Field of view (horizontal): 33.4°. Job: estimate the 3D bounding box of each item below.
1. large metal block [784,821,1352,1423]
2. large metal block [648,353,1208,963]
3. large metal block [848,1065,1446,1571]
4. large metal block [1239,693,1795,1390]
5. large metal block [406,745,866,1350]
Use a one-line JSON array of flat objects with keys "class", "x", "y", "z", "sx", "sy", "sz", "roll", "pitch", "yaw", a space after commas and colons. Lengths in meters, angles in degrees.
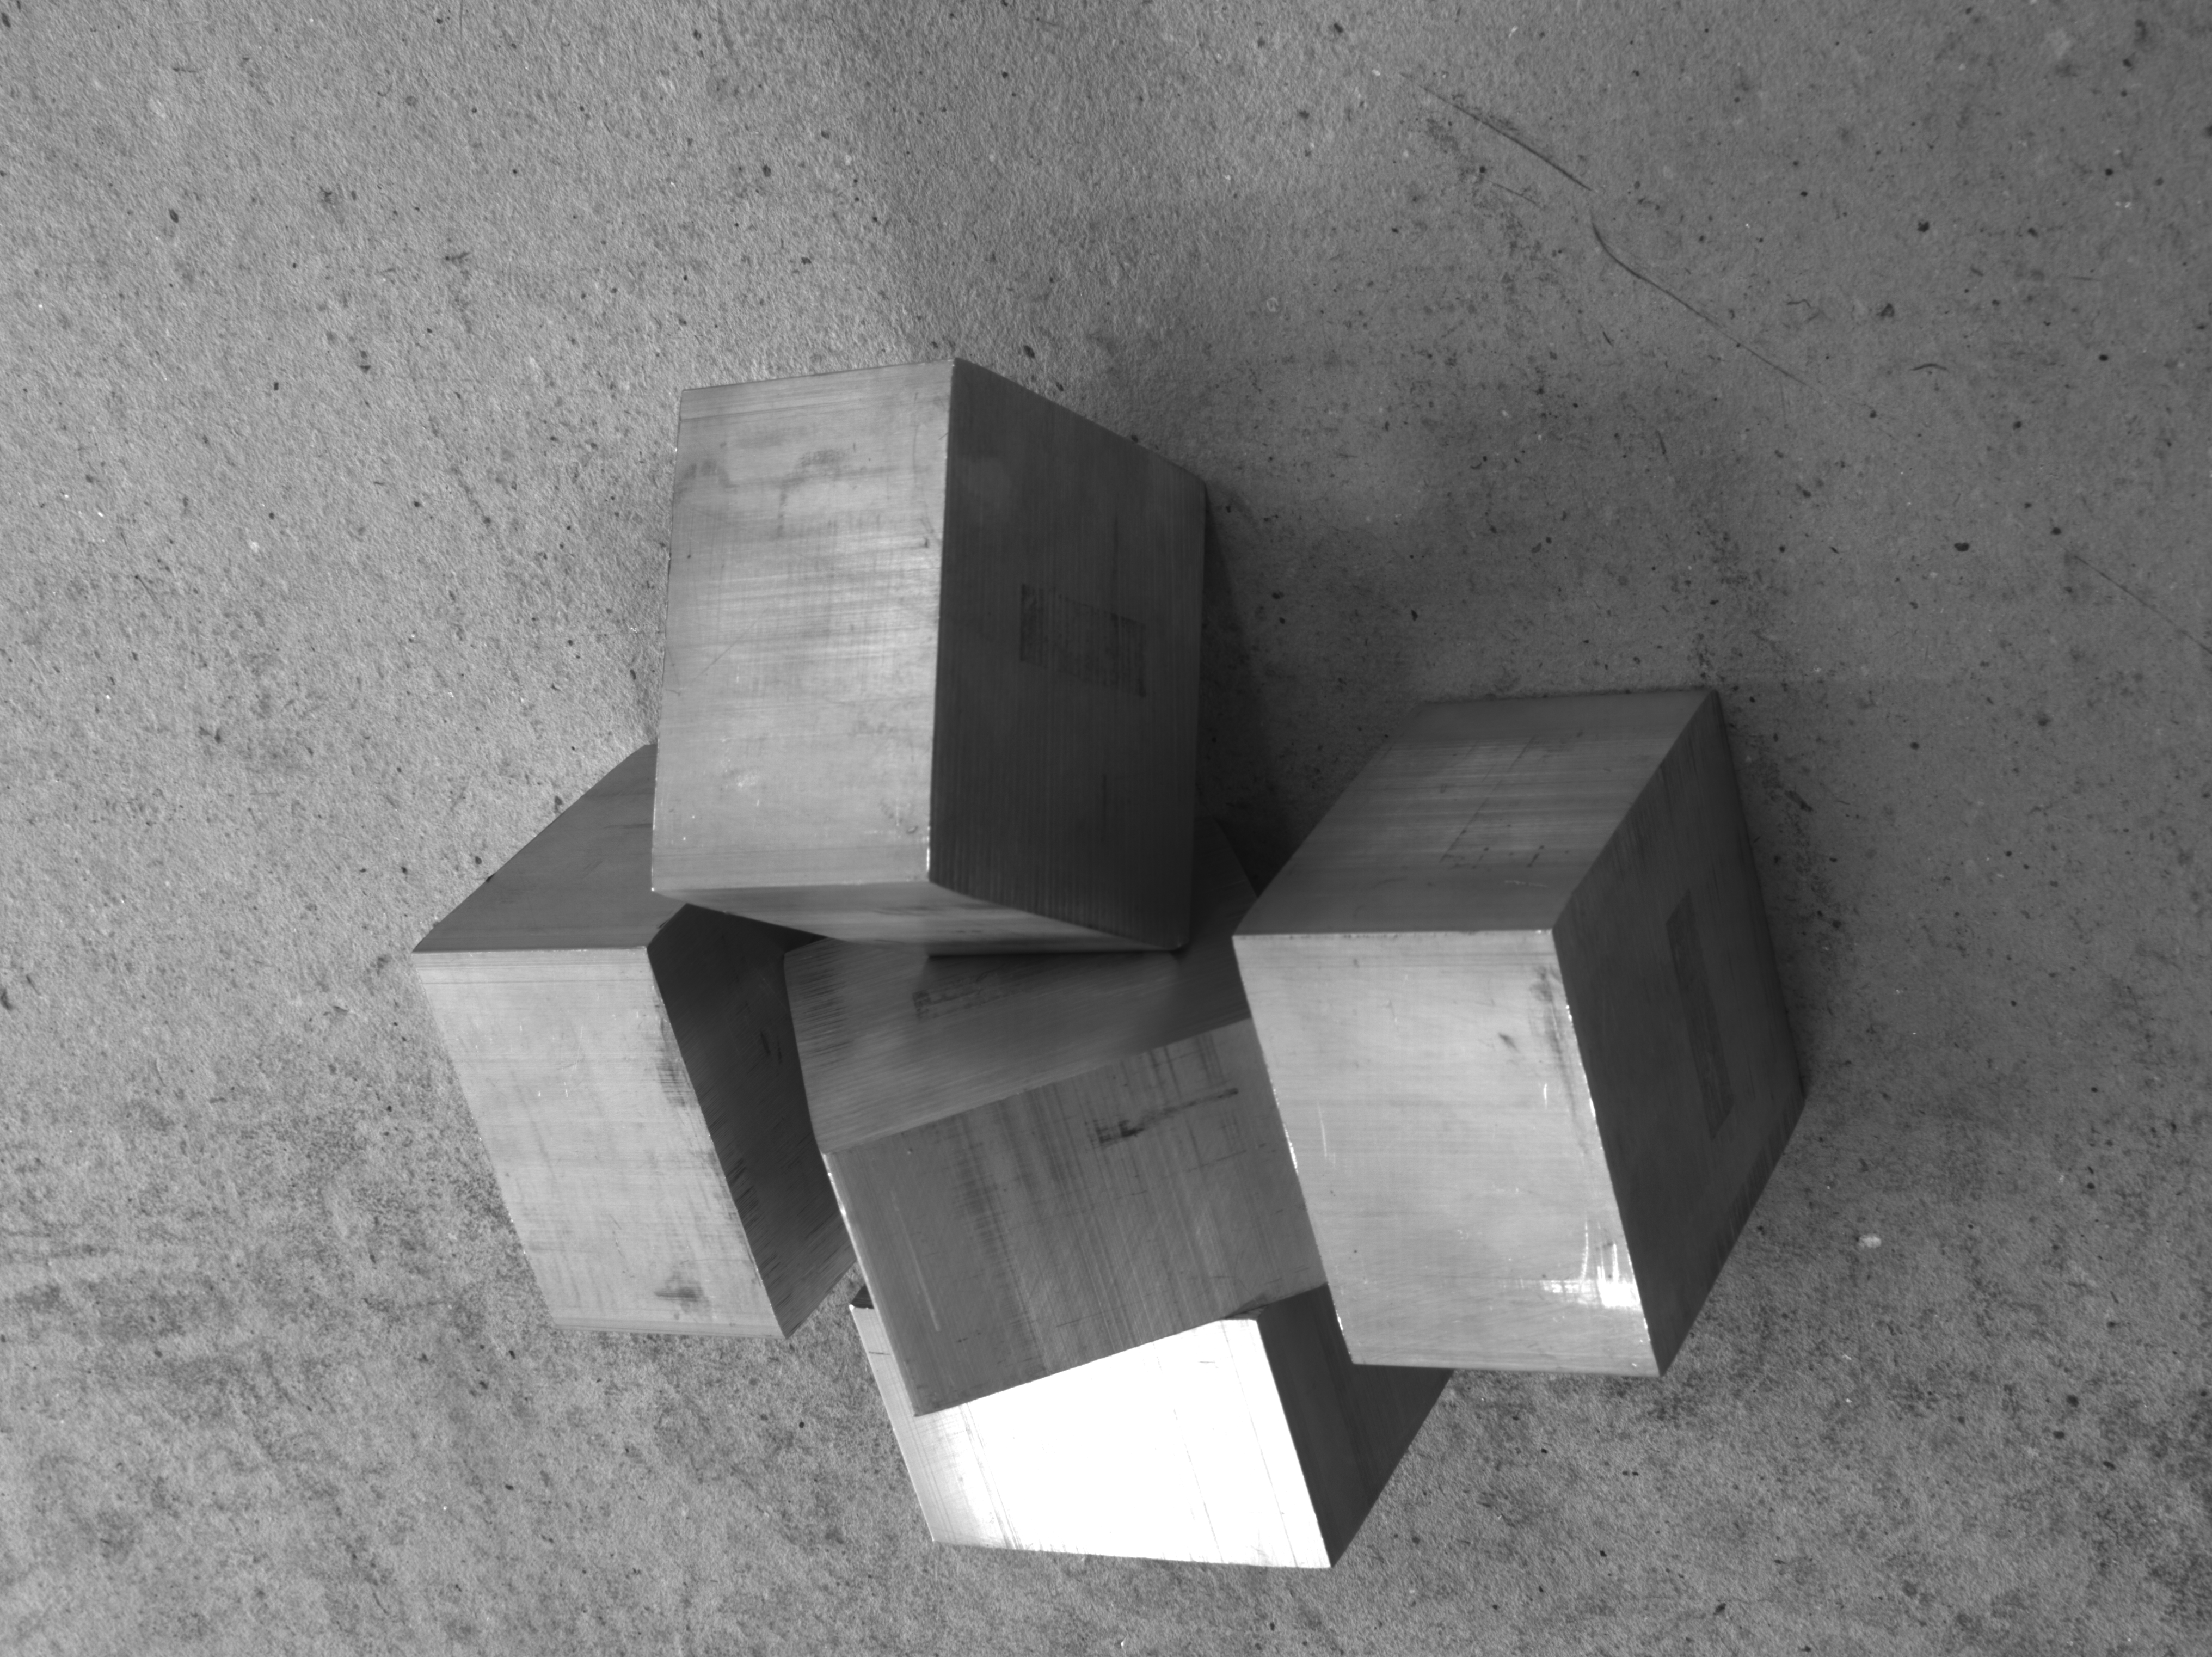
[{"class": "large metal block", "x": -0.006, "y": 0.047, "z": 0.620, "sx": 0.080, "sy": 0.080, "sz": 0.050, "roll": -17, "pitch": 113, "yaw": -3}, {"class": "large metal block", "x": -0.026, "y": -0.024, "z": 0.588, "sx": 0.050, "sy": 0.080, "sz": 0.080, "roll": -3, "pitch": 79, "yaw": 30}, {"class": "large metal block", "x": 0.014, "y": 0.084, "z": 0.652, "sx": 0.080, "sy": 0.080, "sz": 0.050, "roll": -3, "pitch": 117, "yaw": 30}, {"class": "large metal block", "x": 0.068, "y": 0.033, "z": 0.590, "sx": 0.050, "sy": 0.080, "sz": 0.080, "roll": -3, "pitch": 116, "yaw": 29}, {"class": "large metal block", "x": -0.071, "y": 0.037, "z": 0.667, "sx": 0.050, "sy": 0.080, "sz": 0.080, "roll": -2, "pitch": 117, "yaw": 29}]
